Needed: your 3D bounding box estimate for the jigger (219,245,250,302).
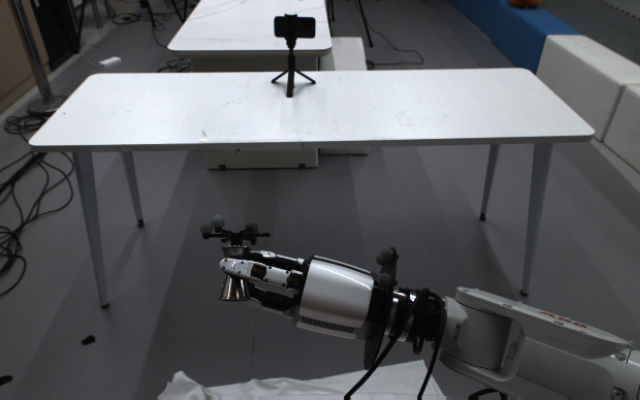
[{"bbox_3d":[-0.109,0.095,0.627,0.043,0.043,0.071,0,75,-3],"label":"jigger"}]
